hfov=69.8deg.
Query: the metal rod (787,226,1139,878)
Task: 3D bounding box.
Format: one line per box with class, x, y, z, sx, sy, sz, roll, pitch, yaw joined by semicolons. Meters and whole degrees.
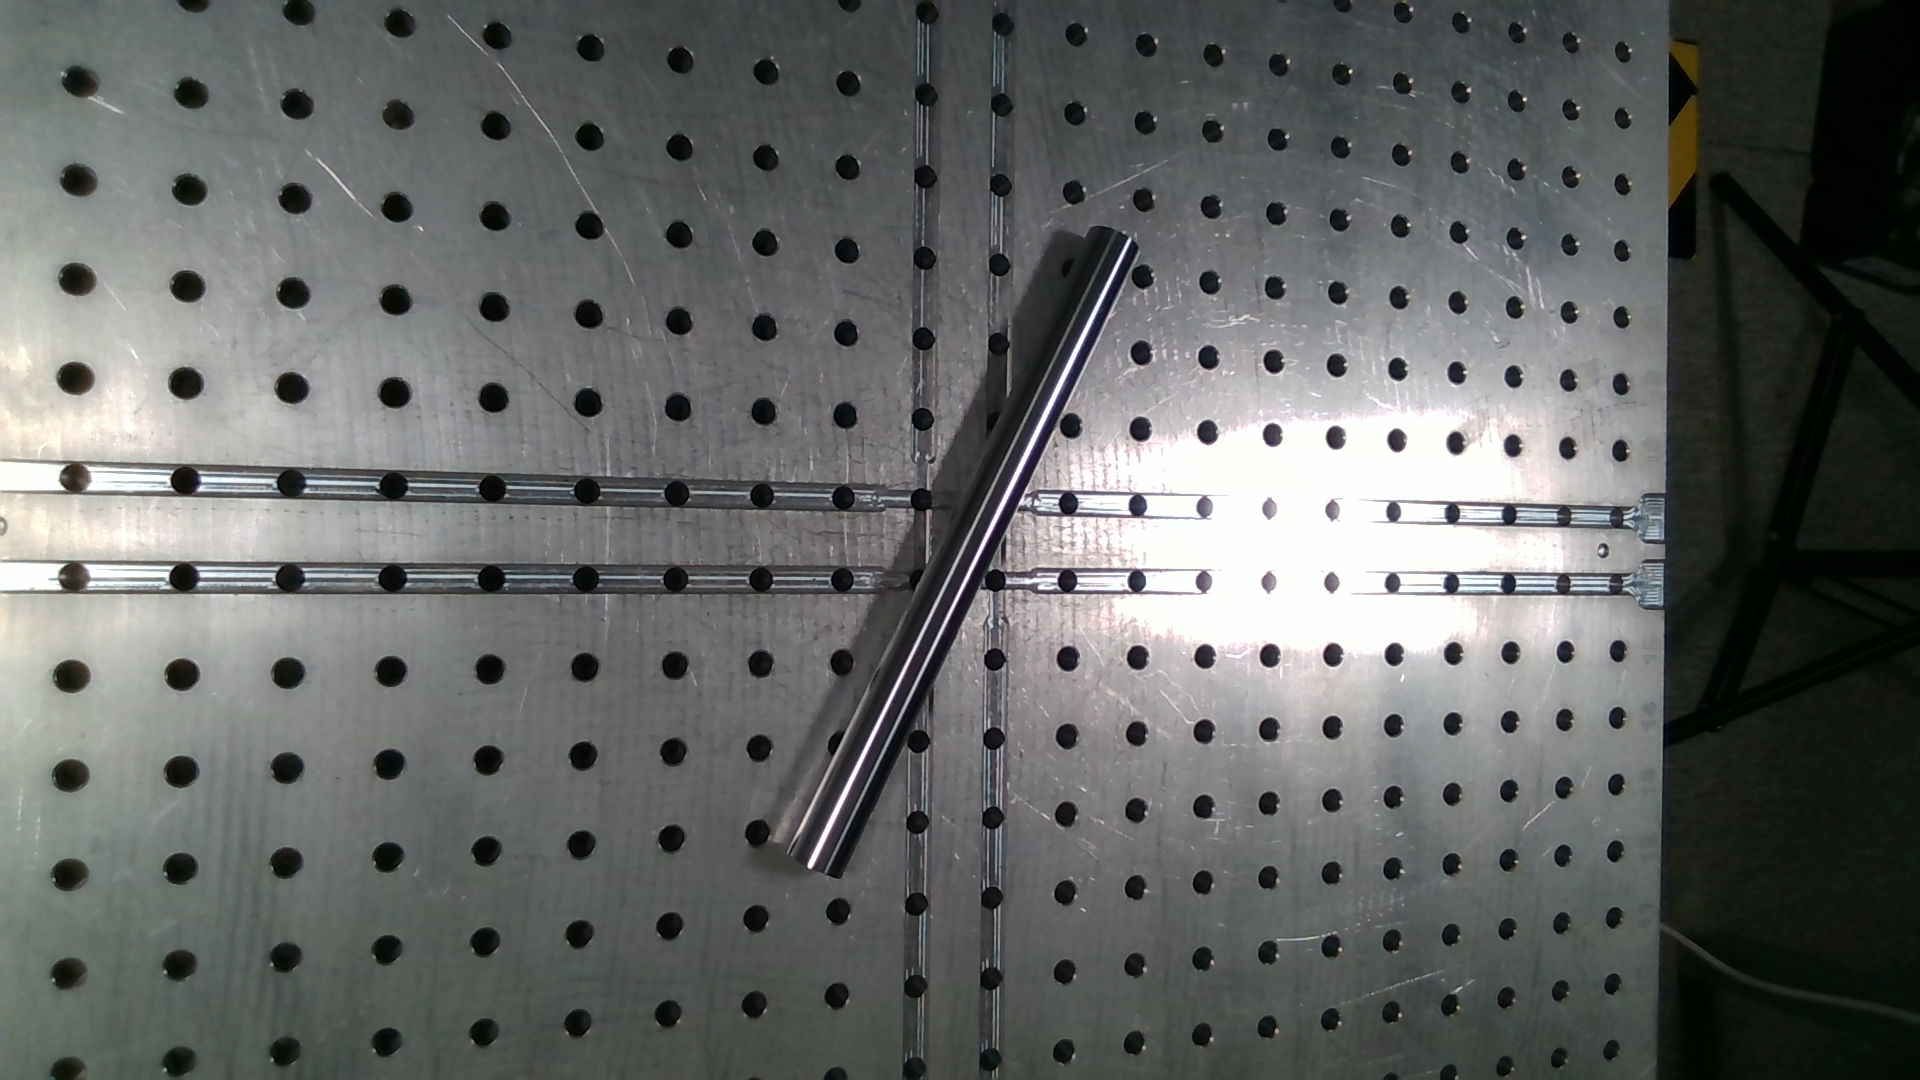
metal rod;0.004;0.000;0.590;0.025;0.025;0.300;29;81;-18
